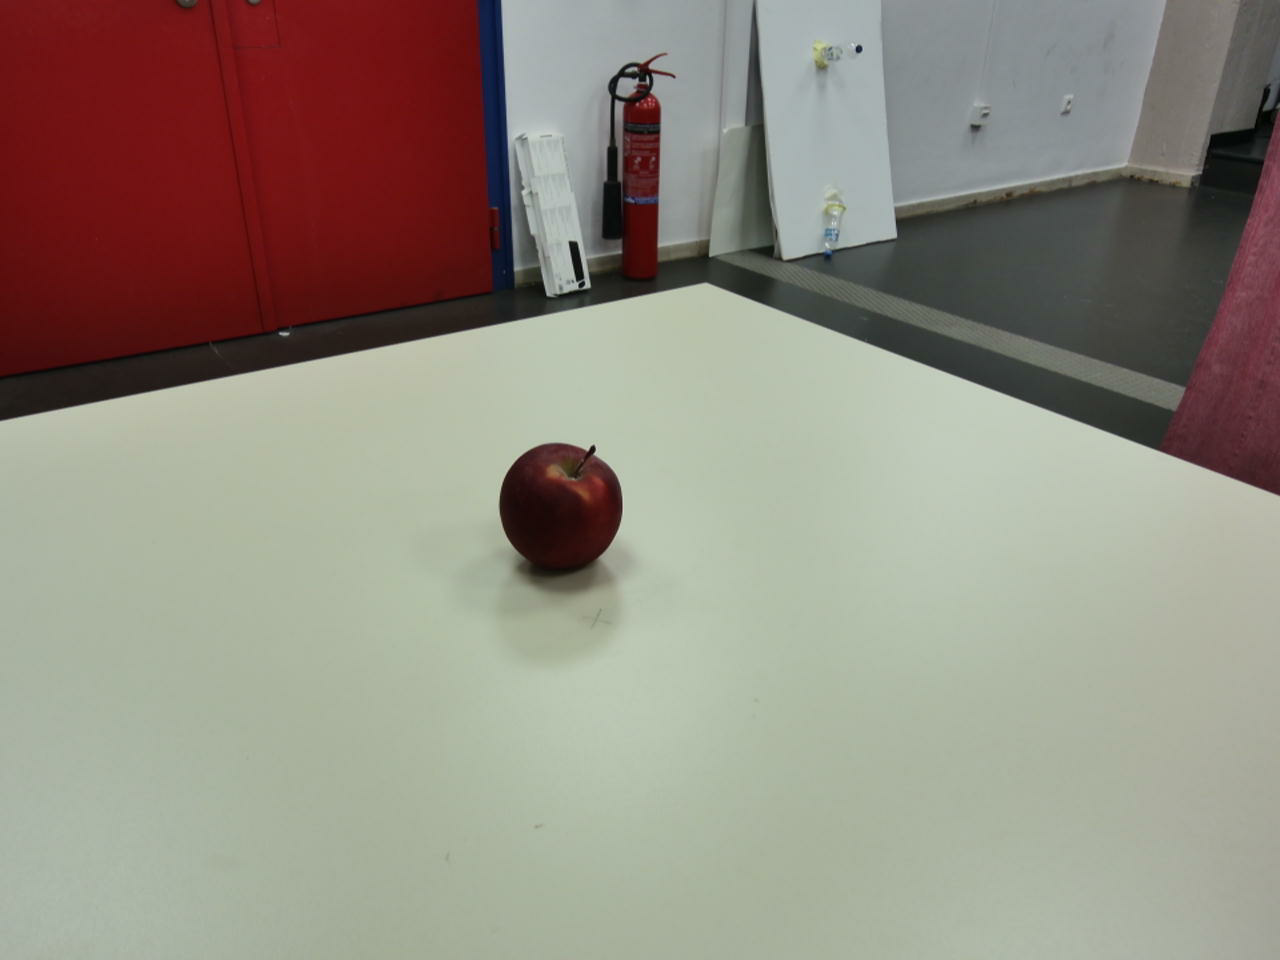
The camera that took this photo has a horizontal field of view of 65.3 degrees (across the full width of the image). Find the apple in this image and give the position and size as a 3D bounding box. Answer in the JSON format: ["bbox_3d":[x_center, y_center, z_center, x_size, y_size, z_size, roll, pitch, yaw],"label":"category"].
[{"bbox_3d":[-0.044,0.015,0.562,0.070,0.072,0.070,1,26,0],"label":"apple"}]
